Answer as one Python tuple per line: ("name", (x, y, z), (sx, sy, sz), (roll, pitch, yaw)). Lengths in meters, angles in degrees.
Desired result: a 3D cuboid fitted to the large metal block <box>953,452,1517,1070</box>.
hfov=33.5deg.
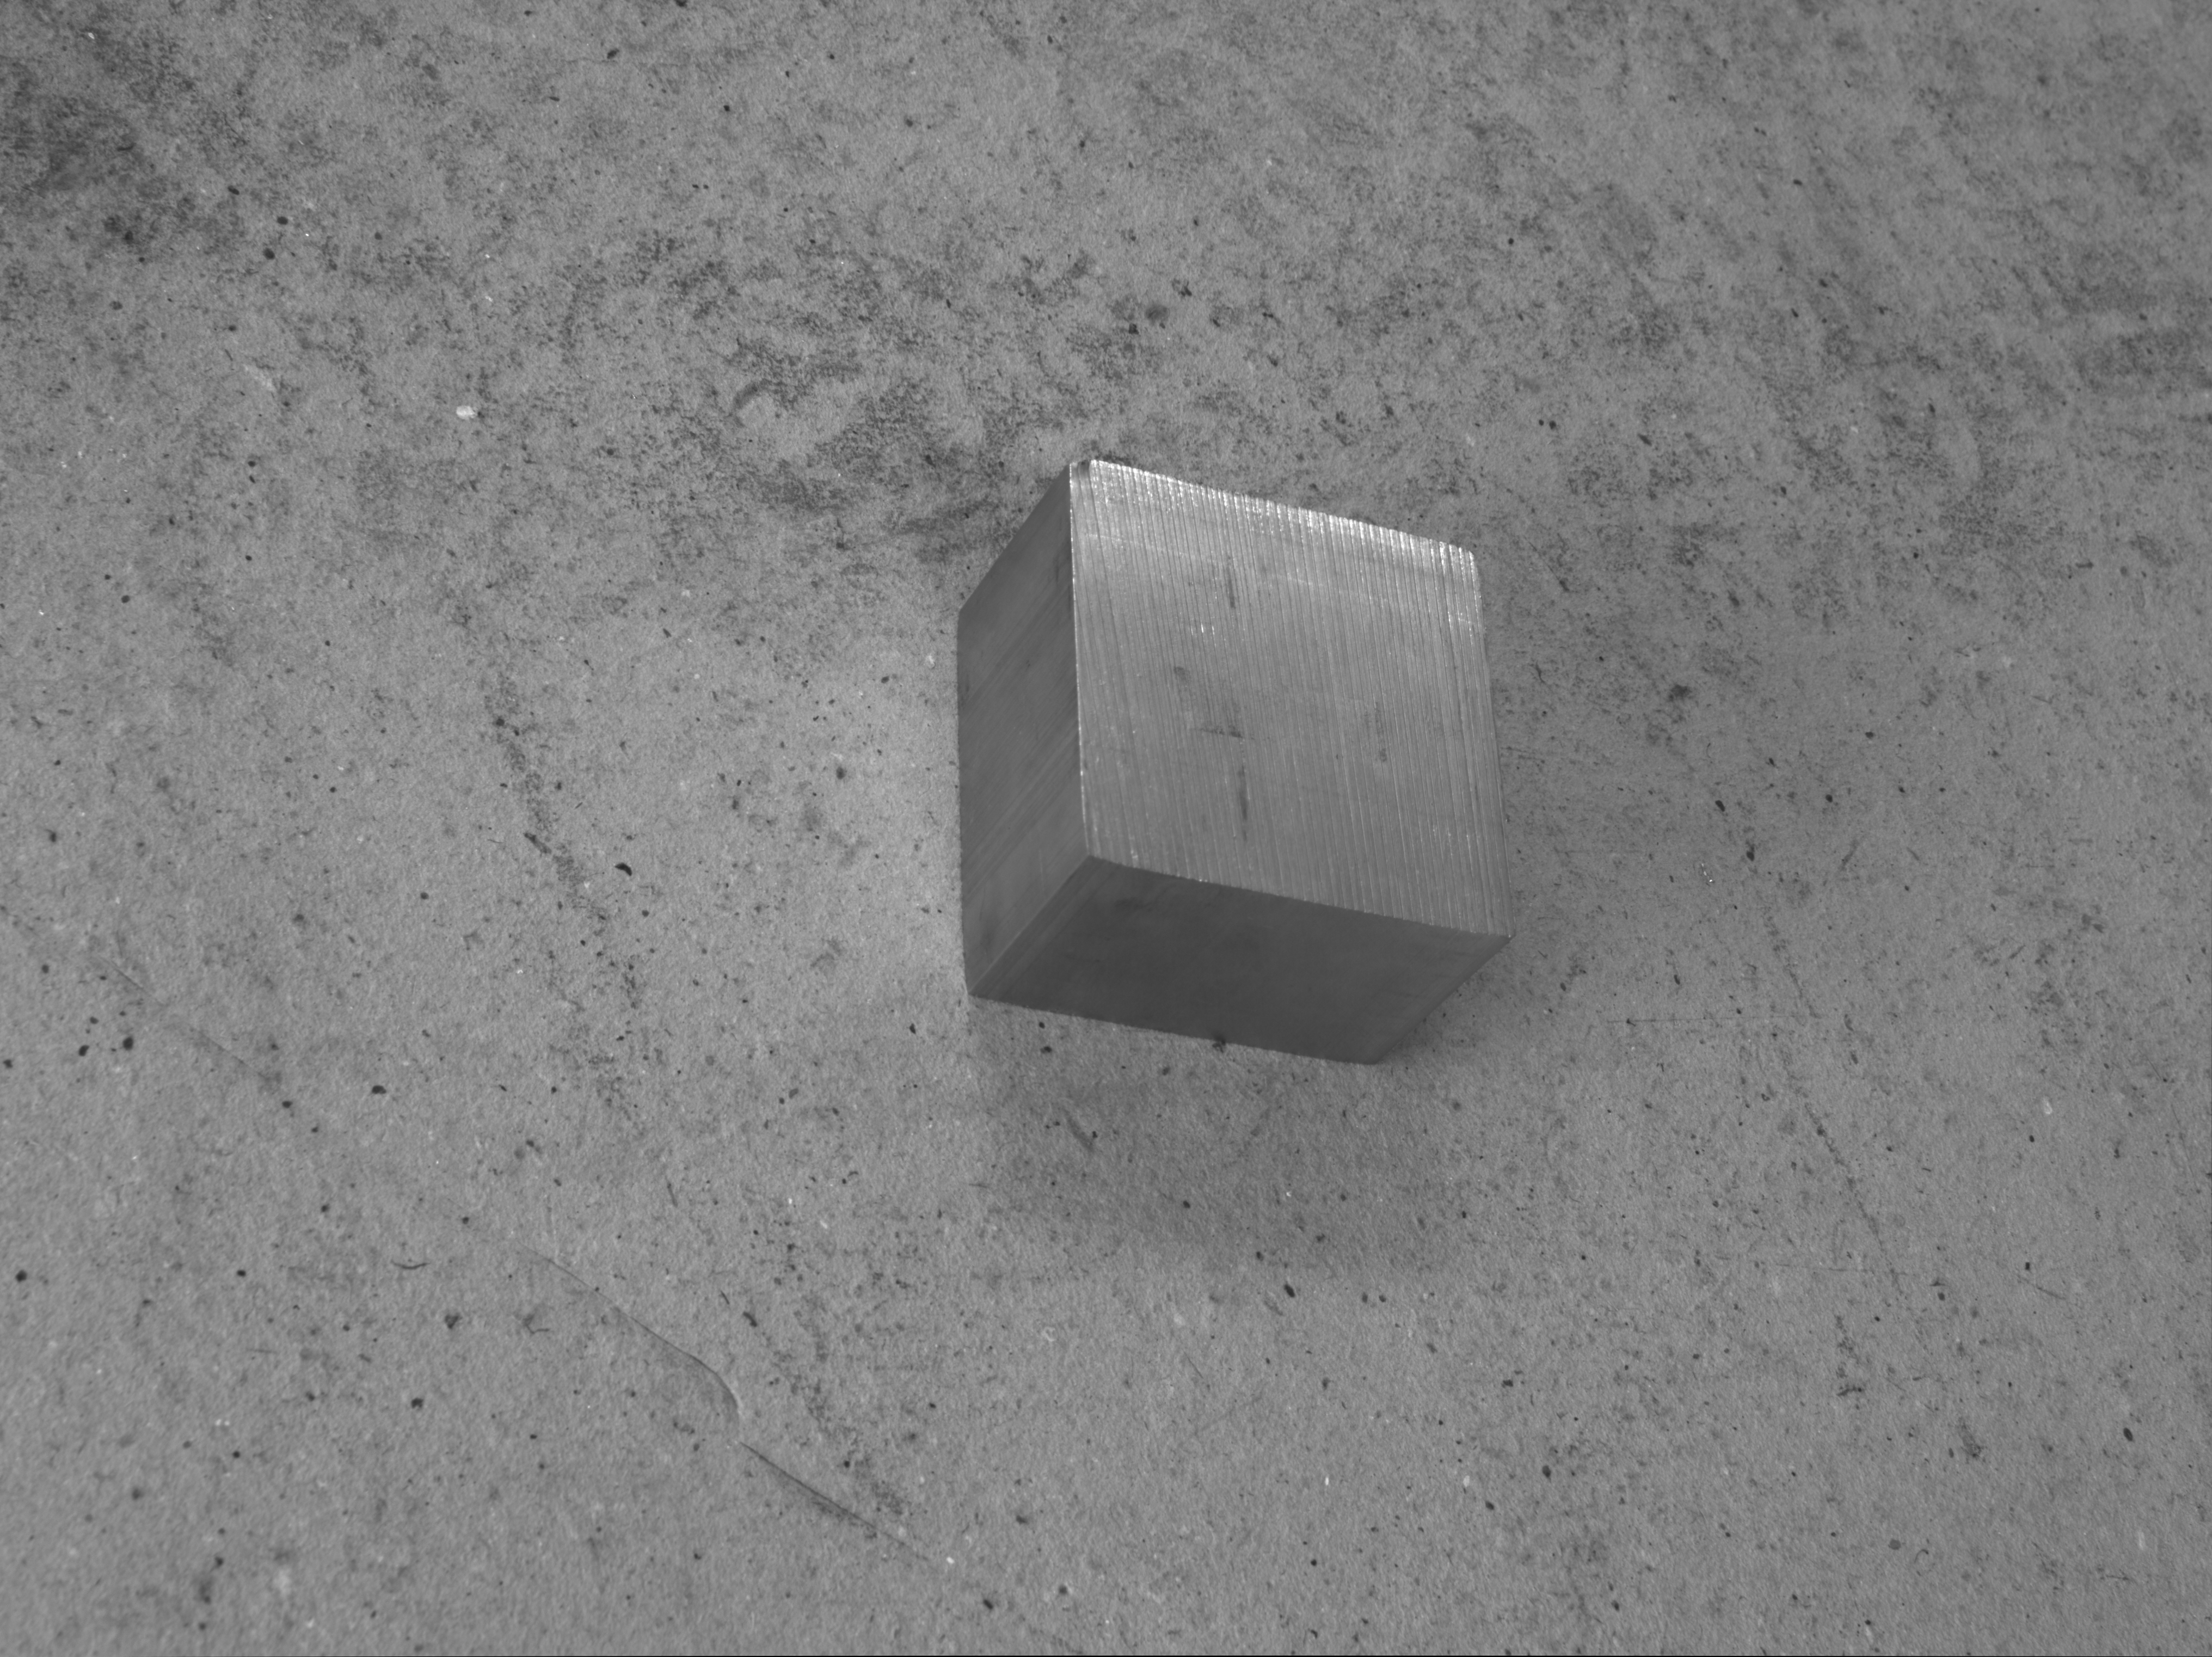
("large metal block", (0.021, -0.011, 0.641), (0.080, 0.050, 0.080), (12, 57, -23))
